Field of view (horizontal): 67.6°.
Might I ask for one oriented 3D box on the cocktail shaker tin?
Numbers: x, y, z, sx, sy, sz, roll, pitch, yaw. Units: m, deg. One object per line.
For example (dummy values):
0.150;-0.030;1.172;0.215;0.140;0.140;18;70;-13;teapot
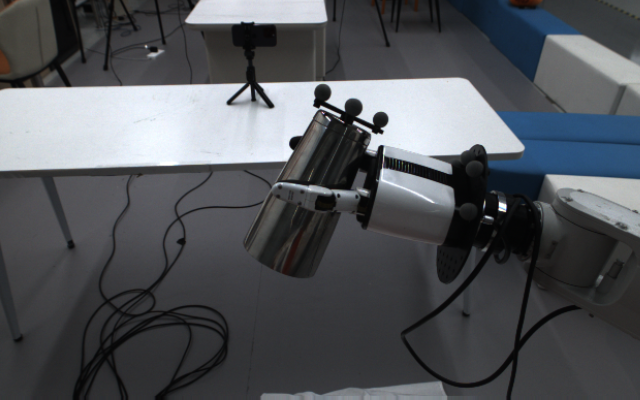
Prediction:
-0.007;-0.011;0.540;0.093;0.170;0.093;24;12;-6;cocktail shaker tin
